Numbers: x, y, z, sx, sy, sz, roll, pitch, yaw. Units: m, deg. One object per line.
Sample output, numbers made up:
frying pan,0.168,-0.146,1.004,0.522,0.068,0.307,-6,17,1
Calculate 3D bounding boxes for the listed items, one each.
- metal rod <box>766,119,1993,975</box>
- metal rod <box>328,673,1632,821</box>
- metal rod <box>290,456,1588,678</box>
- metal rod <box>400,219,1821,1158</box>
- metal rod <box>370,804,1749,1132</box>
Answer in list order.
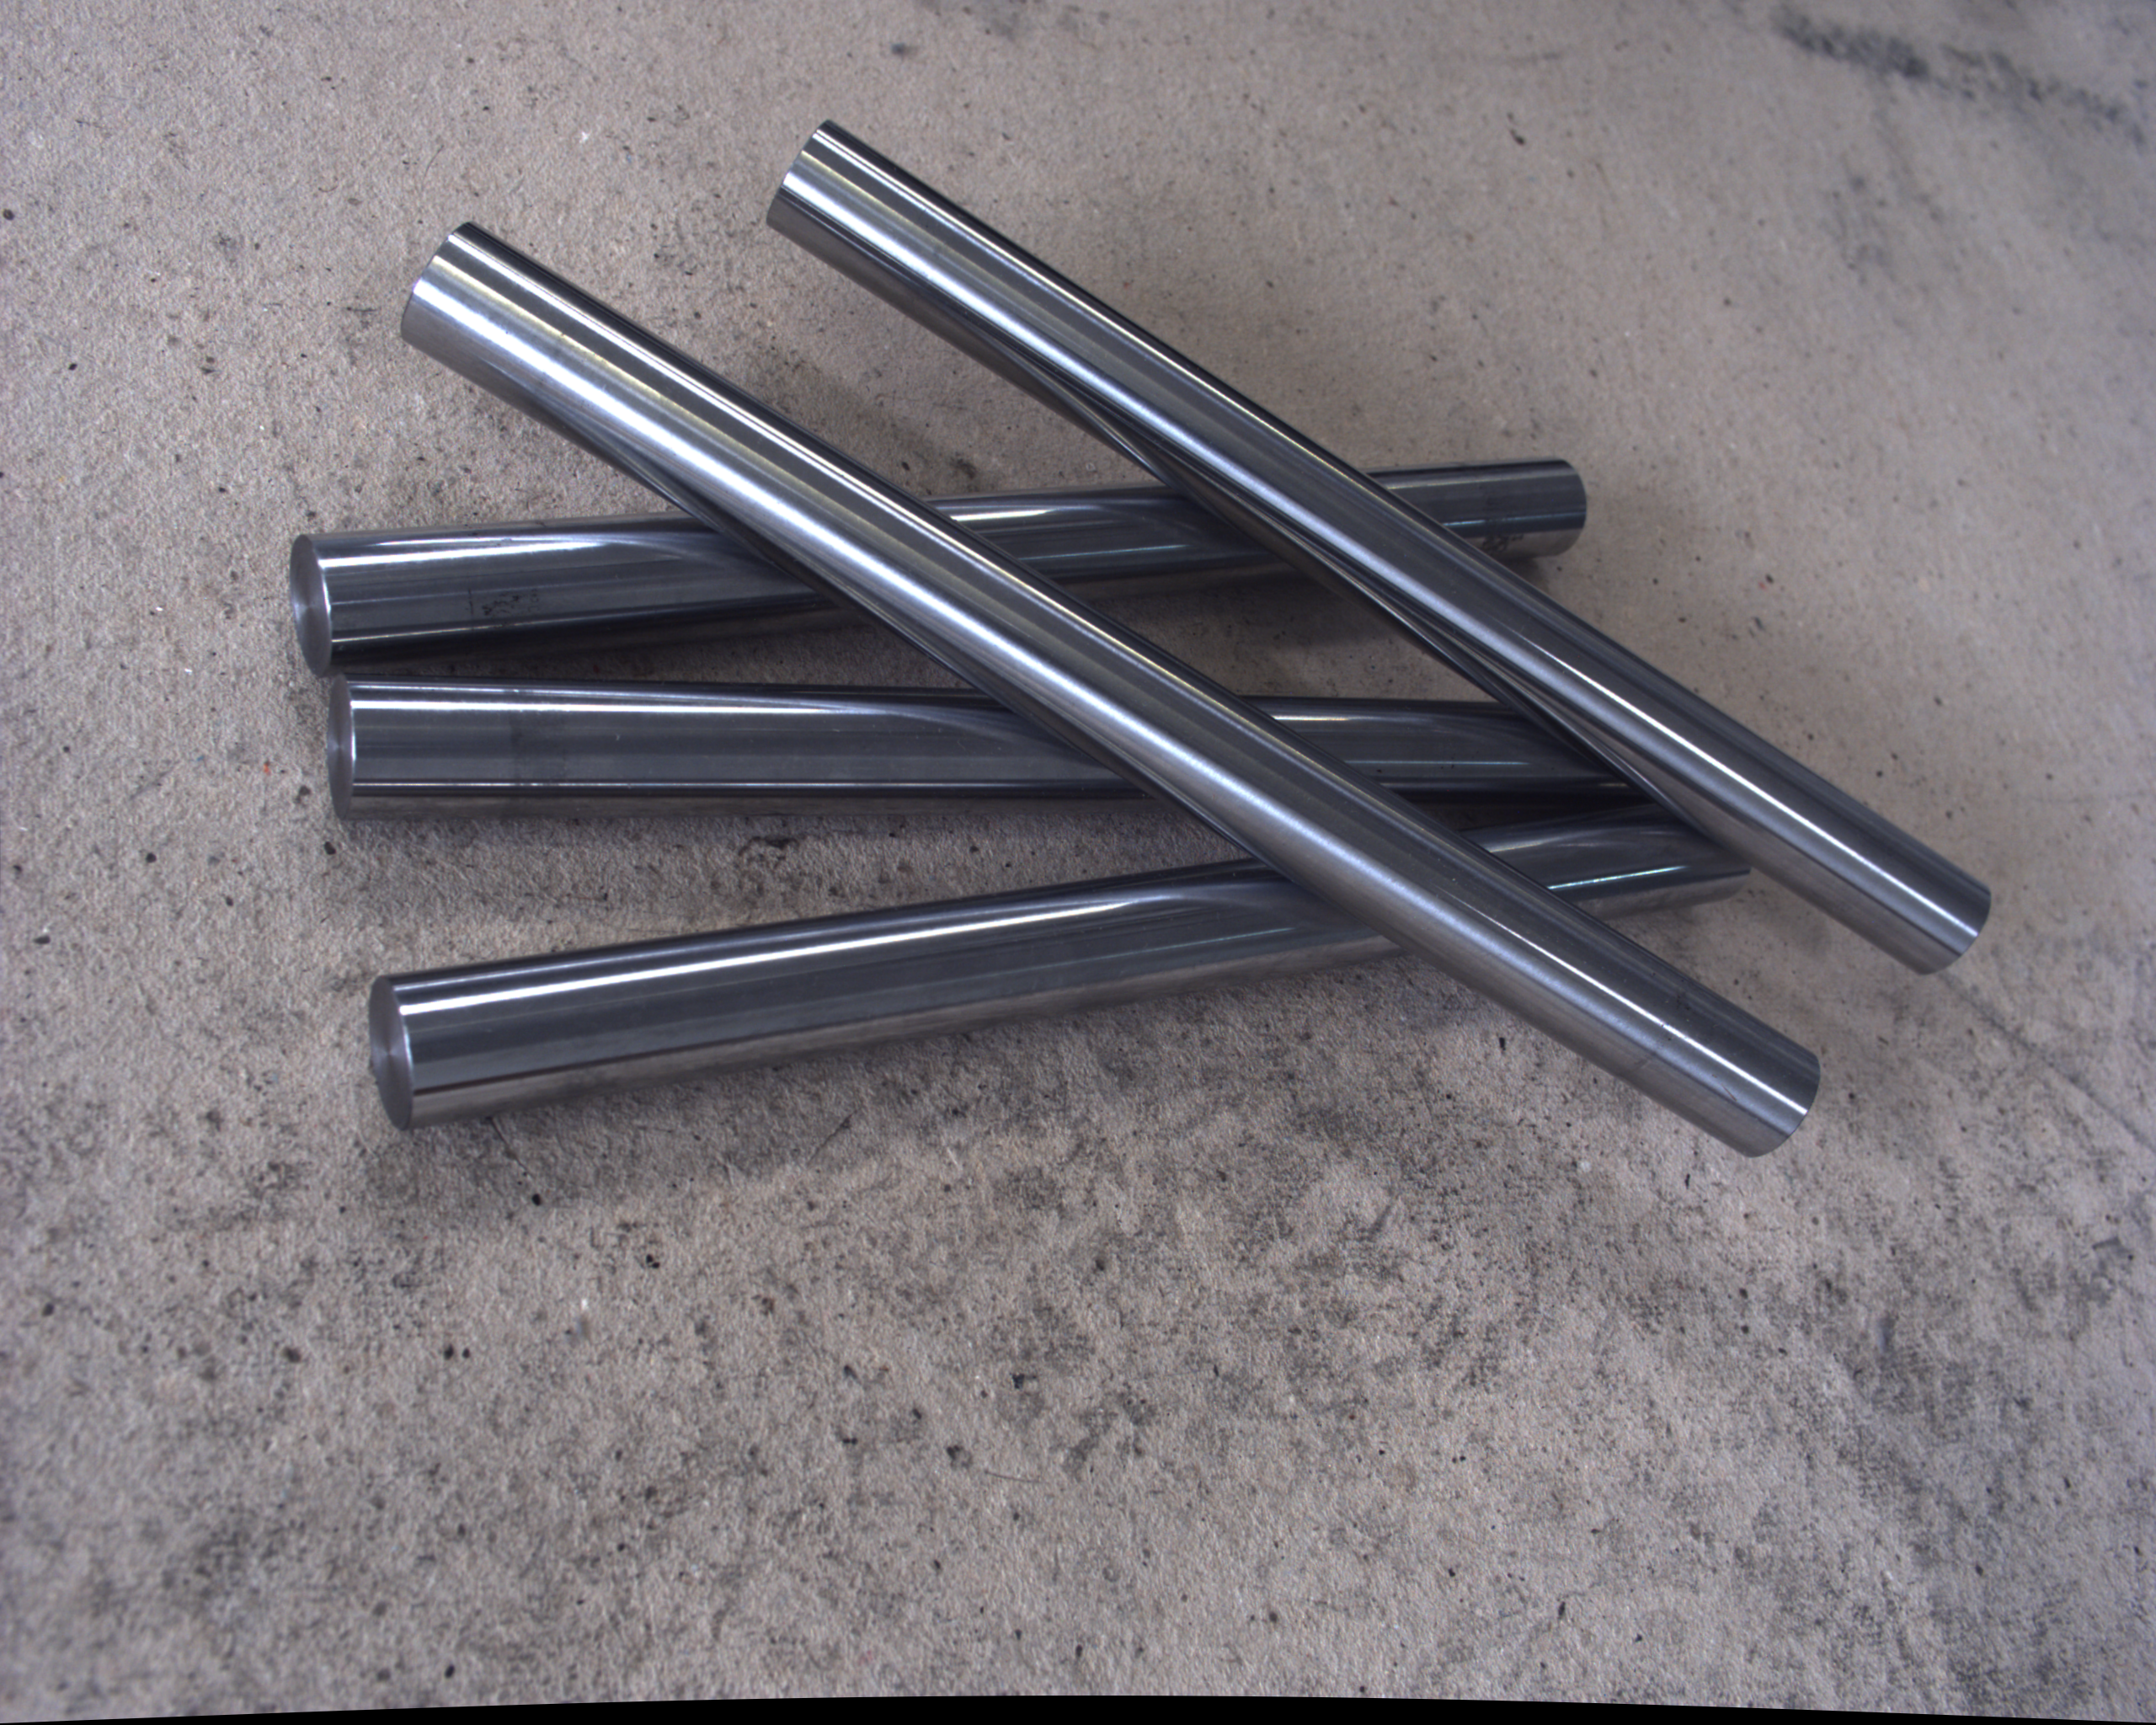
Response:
metal rod,0.070,-0.064,0.449,0.301,0.025,0.025,32,52,-8
metal rod,0.009,-0.022,0.423,0.303,0.025,0.025,-1,63,-29
metal rod,-0.007,-0.067,0.442,0.303,0.025,0.025,-10,67,-32
metal rod,0.013,-0.028,0.397,0.301,0.025,0.025,31,52,-8
metal rod,0.020,0.013,0.407,0.303,0.025,0.025,-8,66,-32
